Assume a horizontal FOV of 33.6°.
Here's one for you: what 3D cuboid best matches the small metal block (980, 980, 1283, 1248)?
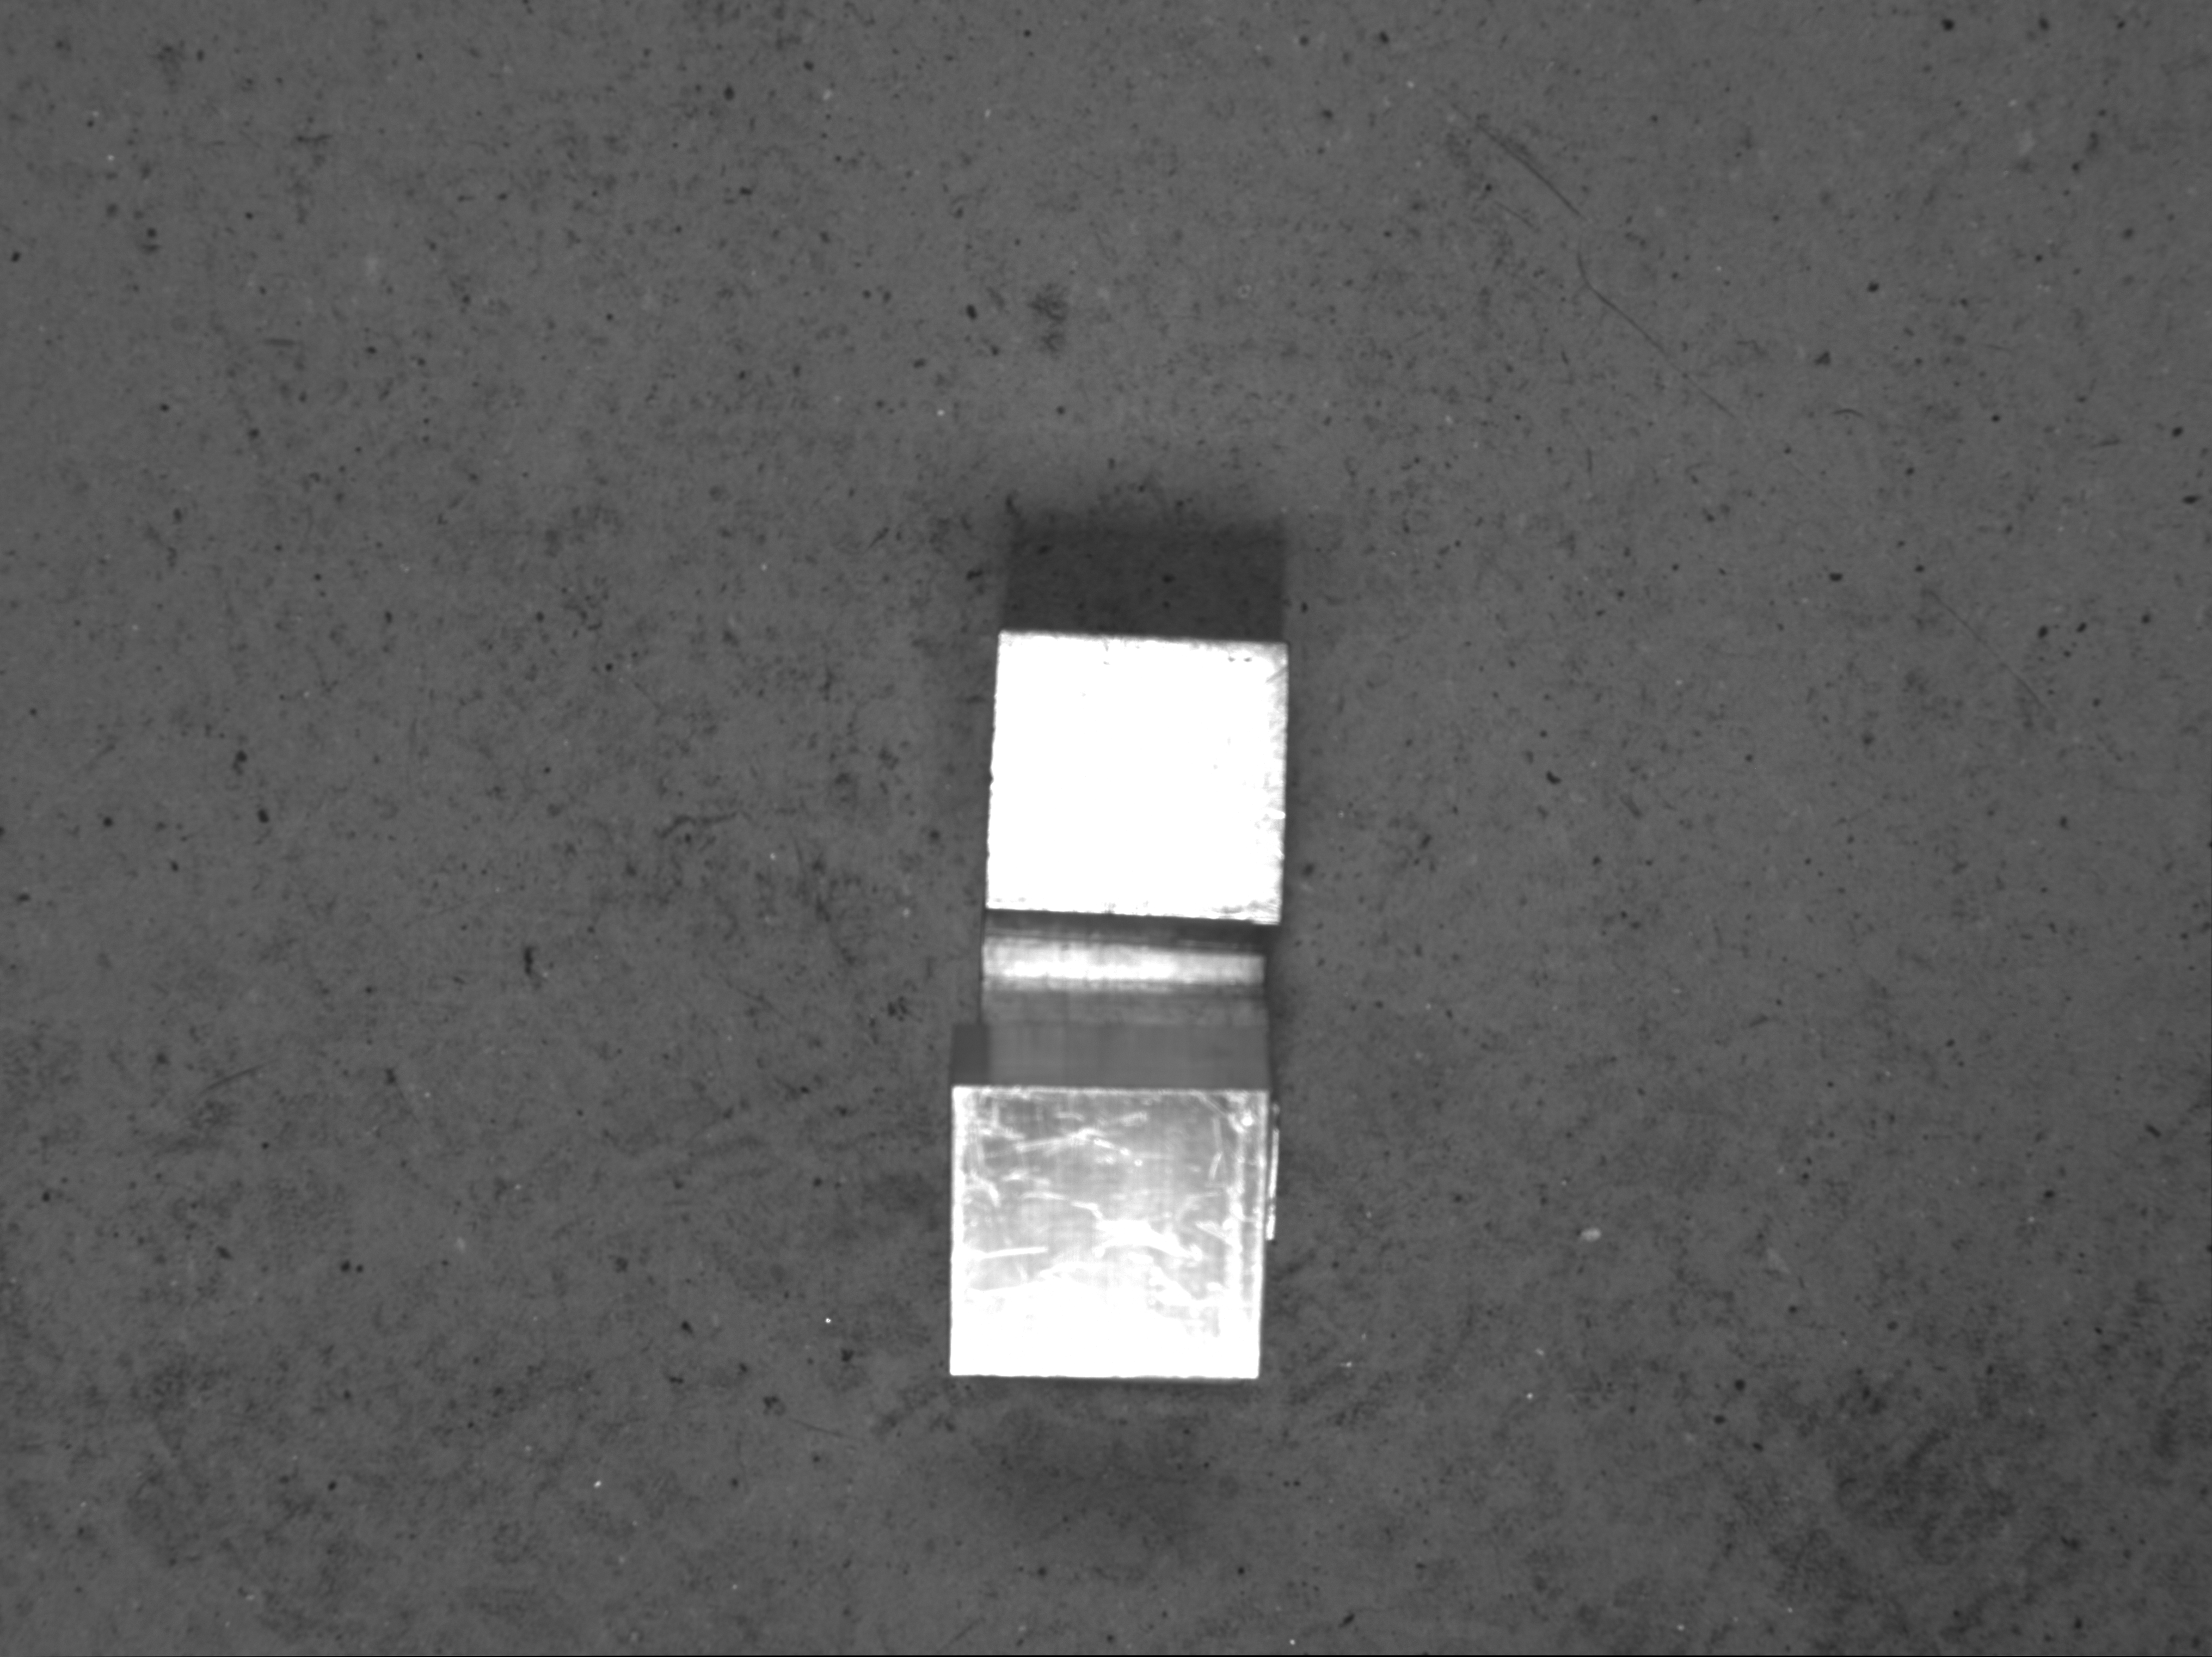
[{"bbox_3d":[0.003,0.048,0.620,0.050,0.050,0.025,2,110,-1],"label":"small metal block"}]

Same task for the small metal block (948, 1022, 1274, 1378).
[{"bbox_3d":[0.000,0.059,0.585,0.050,0.025,0.050,1,110,-1],"label":"small metal block"}]

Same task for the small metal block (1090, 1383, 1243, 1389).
[{"bbox_3d":[0.001,0.079,0.659,0.050,0.025,0.050,2,150,-1],"label":"small metal block"}]

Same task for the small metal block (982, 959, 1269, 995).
[{"bbox_3d":[0.003,0.034,0.656,0.050,0.025,0.050,2,110,-1],"label":"small metal block"}]

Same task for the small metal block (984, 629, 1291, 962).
[{"bbox_3d":[0.005,-0.005,0.629,0.050,0.025,0.050,3,74,-1],"label":"small metal block"}]
